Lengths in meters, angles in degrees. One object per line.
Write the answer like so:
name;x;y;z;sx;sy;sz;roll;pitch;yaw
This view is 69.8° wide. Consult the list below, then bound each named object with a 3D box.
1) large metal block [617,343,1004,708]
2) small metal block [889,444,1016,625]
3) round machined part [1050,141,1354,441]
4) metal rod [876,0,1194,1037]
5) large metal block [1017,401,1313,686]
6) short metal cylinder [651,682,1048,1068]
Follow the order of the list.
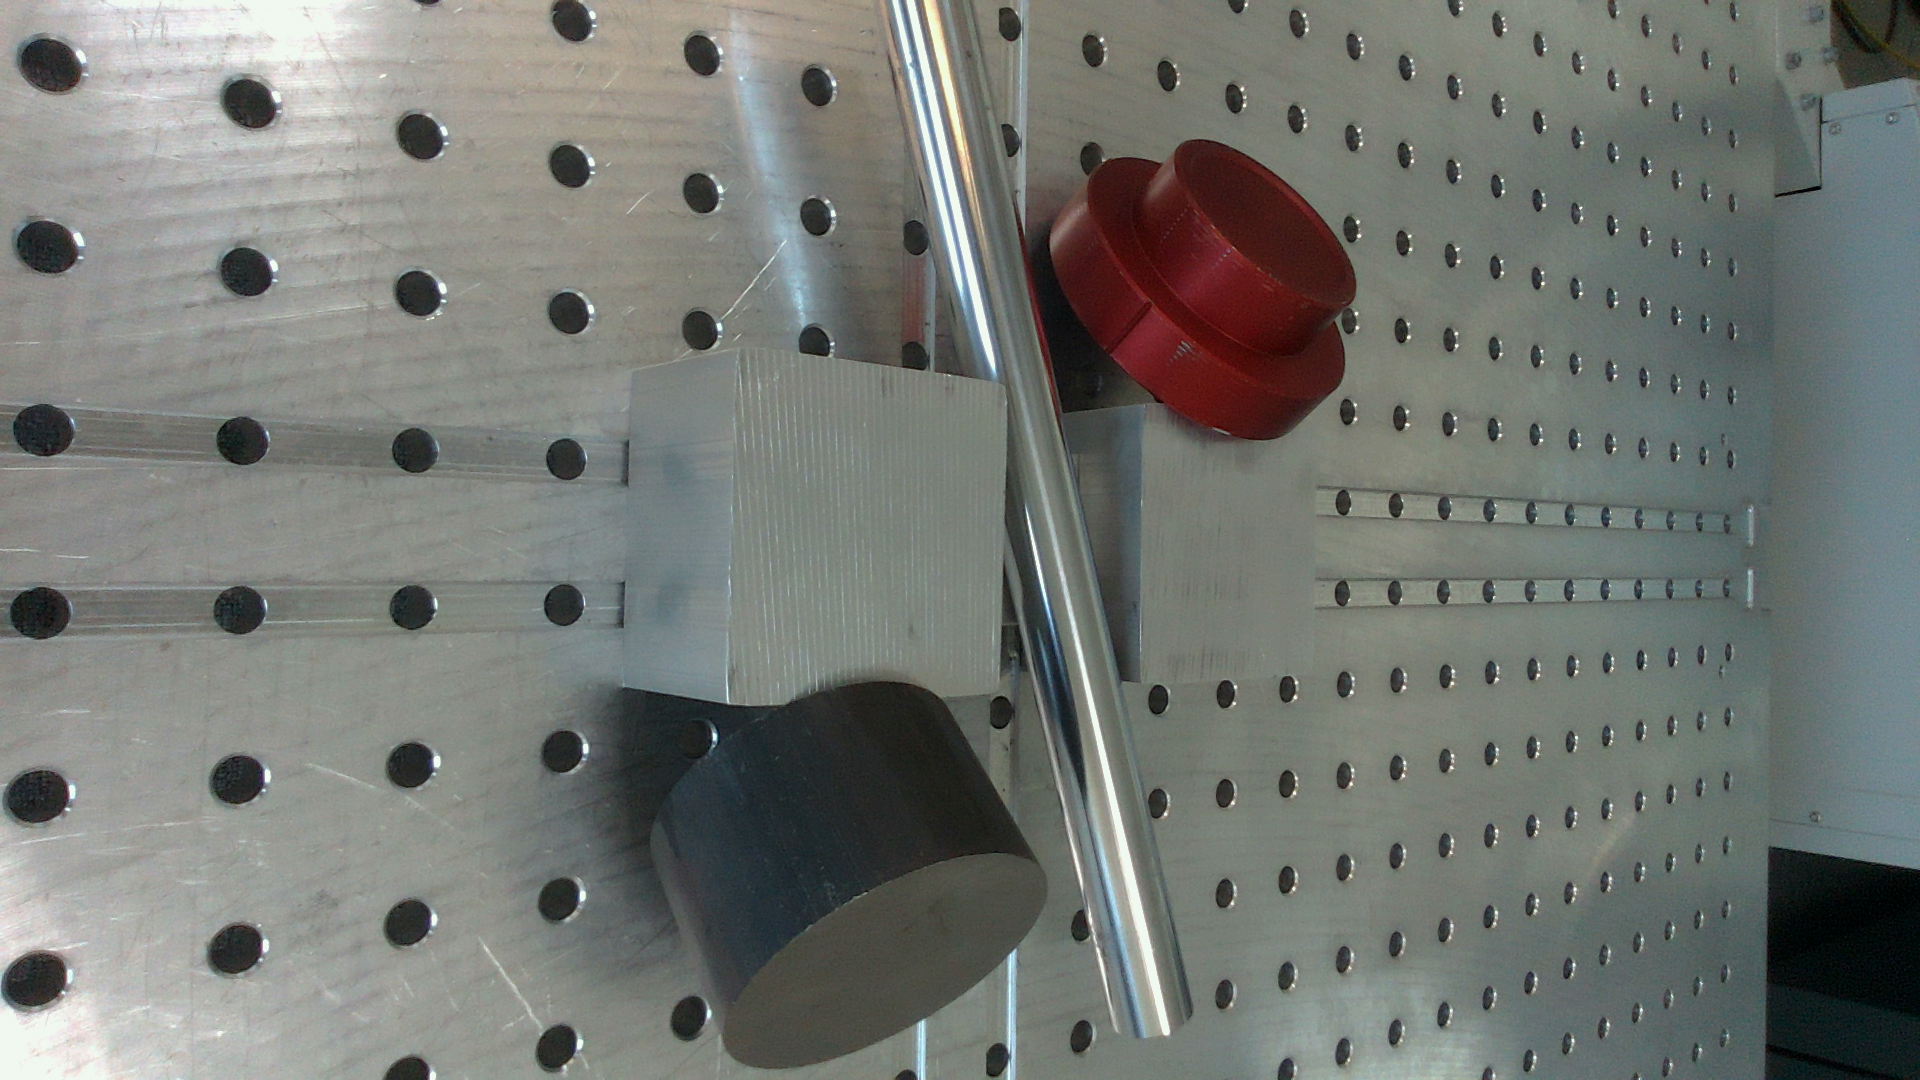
large metal block;-0.037;-0.002;0.346;0.080;0.050;0.080;3;88;-40
small metal block;0.007;-0.001;0.398;0.050;0.025;0.050;1;89;-40
round machined part;0.079;-0.081;0.415;0.098;0.042;0.098;23;43;-23
metal rod;0.023;-0.004;0.377;0.025;0.025;0.300;-22;104;-38
large metal block;0.065;0.002;0.431;0.080;0.050;0.080;1;89;-40
short metal cylinder;-0.026;0.079;0.326;0.080;0.050;0.080;-21;143;-17
